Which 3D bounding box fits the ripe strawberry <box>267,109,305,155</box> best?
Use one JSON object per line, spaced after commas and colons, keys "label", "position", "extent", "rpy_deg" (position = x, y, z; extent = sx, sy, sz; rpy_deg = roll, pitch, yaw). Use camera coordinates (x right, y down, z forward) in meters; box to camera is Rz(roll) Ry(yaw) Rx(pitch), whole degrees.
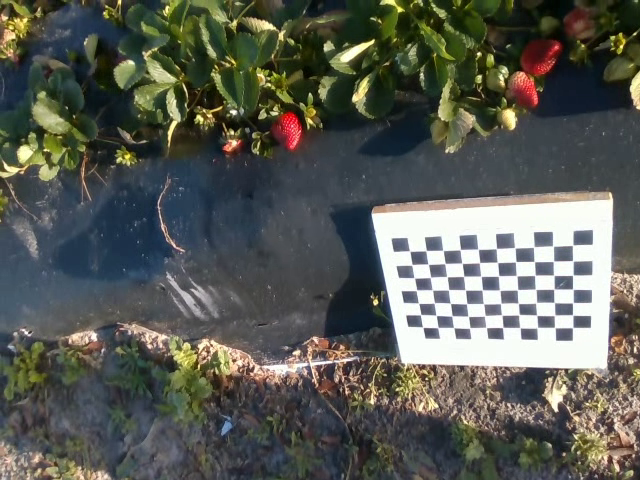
{"label": "ripe strawberry", "position": [-0.046, -0.143, 0.868], "extent": [0.052, 0.052, 0.041], "rpy_deg": [-34, -40, 31]}
